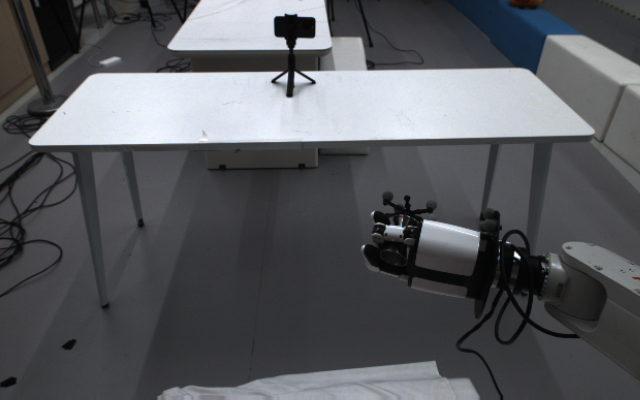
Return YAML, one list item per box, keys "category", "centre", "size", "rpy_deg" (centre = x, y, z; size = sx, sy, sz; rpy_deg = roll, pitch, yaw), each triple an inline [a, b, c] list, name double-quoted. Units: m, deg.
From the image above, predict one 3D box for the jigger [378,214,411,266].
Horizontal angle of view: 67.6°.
- category: "jigger"
  centre: [0.124, 0.059, 0.738]
  size: [0.043, 0.043, 0.071]
  rpy_deg: [13, 58, 15]
